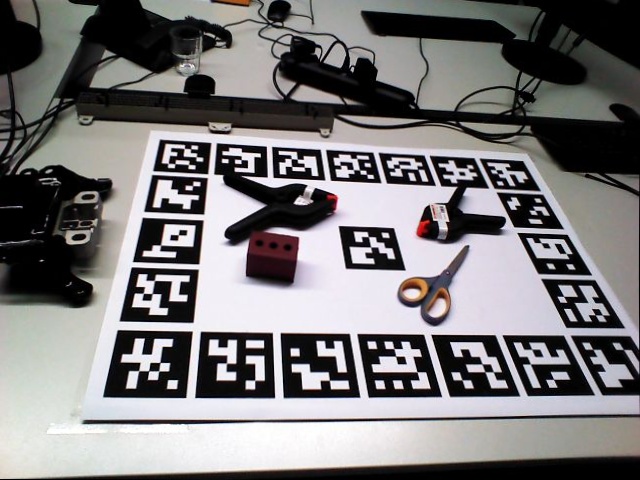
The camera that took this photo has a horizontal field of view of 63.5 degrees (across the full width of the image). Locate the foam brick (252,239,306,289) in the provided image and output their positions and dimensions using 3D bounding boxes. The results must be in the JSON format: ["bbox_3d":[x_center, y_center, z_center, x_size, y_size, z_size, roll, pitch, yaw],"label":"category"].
[{"bbox_3d":[-0.062,0.038,0.802,0.078,0.051,0.052,5,47,0],"label":"foam brick"}]

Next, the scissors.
[{"bbox_3d":[0.215,0.070,0.840,0.088,0.016,0.201,36,48,13],"label":"scissors"}]

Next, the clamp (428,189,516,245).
[{"bbox_3d":[0.265,-0.034,0.947,0.164,0.037,0.122,-20,60,-27],"label":"clamp"}]

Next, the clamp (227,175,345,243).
[{"bbox_3d":[-0.057,-0.056,0.901,0.202,0.037,0.164,0,43,-12],"label":"clamp"}]
